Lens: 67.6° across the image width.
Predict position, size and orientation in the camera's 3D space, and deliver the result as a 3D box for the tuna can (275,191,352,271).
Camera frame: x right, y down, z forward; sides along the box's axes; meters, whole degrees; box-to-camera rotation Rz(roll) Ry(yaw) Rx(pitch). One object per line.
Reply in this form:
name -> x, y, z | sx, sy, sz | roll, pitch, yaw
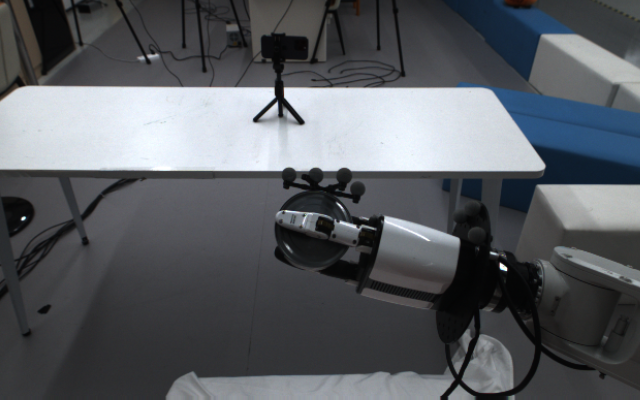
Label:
tuna can -> -0.006, 0.031, 0.534 | 0.085, 0.034, 0.085 | 1, 72, -3
